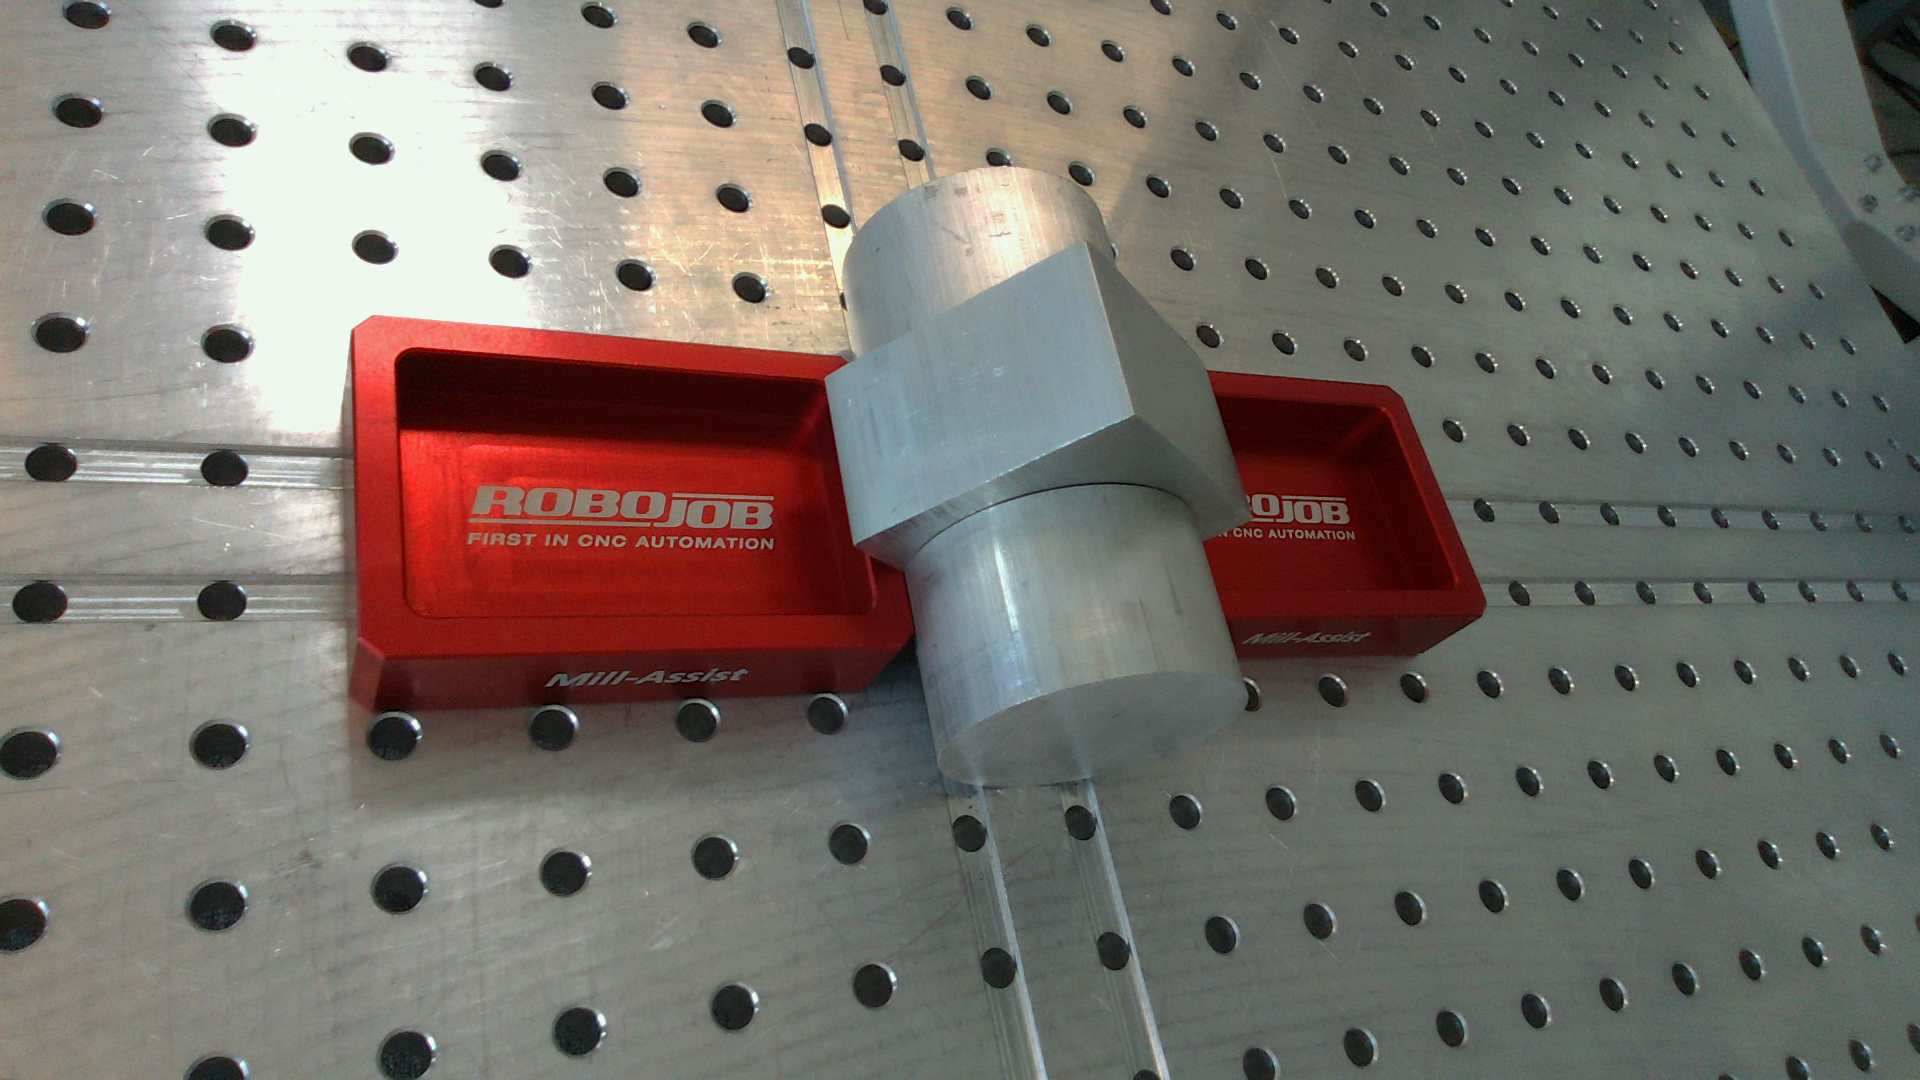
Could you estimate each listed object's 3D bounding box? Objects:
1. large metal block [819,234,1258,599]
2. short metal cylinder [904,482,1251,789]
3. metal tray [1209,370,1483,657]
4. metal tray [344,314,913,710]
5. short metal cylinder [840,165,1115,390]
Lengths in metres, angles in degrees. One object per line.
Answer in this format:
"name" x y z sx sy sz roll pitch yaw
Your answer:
"large metal block" 0.022 -0.024 0.365 0.080 0.080 0.050 31 41 -54
"short metal cylinder" 0.029 0.027 0.356 0.080 0.080 0.050 2 61 -27
"metal tray" 0.100 -0.009 0.448 0.130 0.030 0.090 1 61 -28
"metal tray" -0.083 -0.007 0.348 0.130 0.030 0.090 1 61 -28
"short metal cylinder" 0.009 -0.062 0.399 0.080 0.080 0.050 1 61 -27
